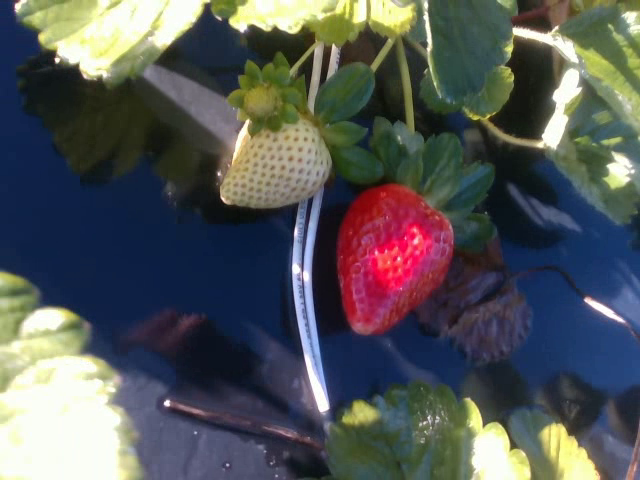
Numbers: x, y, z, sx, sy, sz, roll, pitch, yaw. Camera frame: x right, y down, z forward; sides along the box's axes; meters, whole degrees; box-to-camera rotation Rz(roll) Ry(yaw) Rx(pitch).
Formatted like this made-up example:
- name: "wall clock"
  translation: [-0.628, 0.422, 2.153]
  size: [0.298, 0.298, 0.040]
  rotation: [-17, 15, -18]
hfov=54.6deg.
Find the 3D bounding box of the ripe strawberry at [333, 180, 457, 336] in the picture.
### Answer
- name: "ripe strawberry"
  translation: [0.034, 0.008, 0.236]
  size: [0.040, 0.063, 0.080]
  rotation: [-1, 41, 33]
